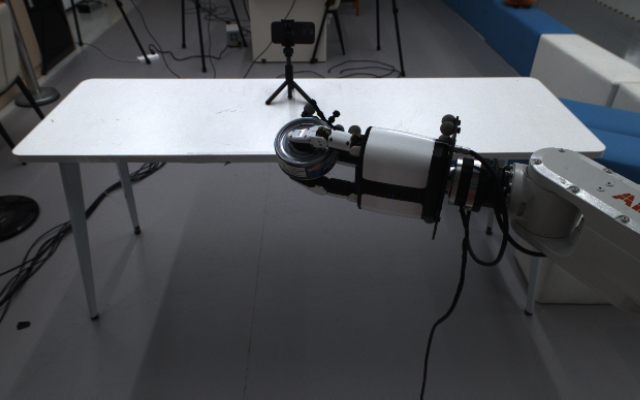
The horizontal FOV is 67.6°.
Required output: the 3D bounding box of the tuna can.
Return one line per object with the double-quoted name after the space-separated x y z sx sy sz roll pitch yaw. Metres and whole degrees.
-0.017 -0.073 0.662 0.085 0.034 0.085 -4 58 6 "tuna can"
